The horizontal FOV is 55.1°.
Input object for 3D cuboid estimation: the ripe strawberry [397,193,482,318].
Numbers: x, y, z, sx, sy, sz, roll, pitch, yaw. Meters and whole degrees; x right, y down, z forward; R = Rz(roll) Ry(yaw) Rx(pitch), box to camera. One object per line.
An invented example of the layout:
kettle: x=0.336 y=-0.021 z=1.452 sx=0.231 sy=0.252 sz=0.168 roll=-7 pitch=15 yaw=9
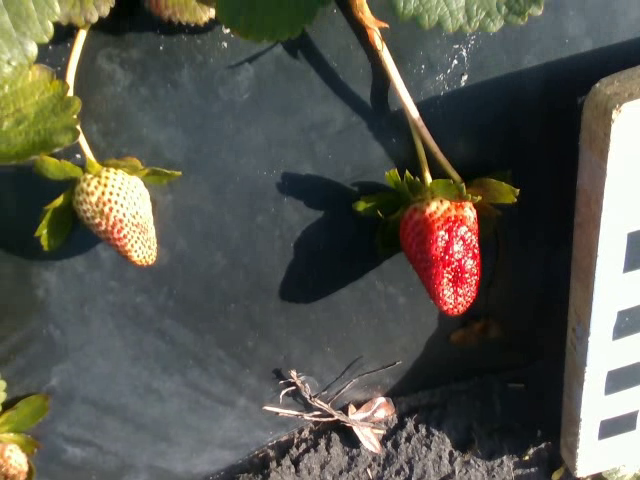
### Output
ripe strawberry: x=0.018 y=0.001 z=0.089 sx=0.015 sy=0.023 sz=0.015 roll=-12 pitch=-11 yaw=-6
